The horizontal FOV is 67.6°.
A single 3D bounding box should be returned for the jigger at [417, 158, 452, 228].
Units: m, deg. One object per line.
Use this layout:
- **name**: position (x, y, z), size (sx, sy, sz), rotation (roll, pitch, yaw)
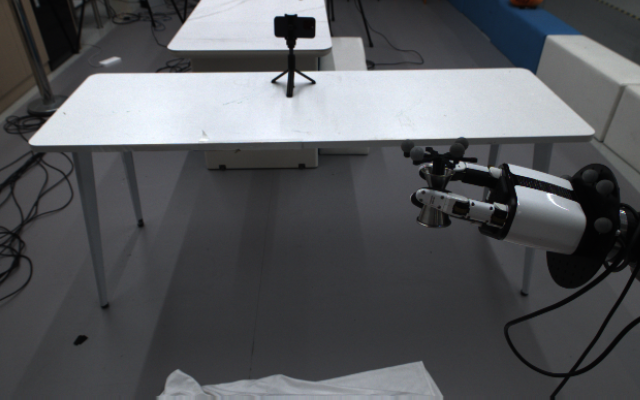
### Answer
- **jigger**: position (0.145, -0.005, 0.609), size (0.043, 0.071, 0.043), rotation (0, 21, 0)
